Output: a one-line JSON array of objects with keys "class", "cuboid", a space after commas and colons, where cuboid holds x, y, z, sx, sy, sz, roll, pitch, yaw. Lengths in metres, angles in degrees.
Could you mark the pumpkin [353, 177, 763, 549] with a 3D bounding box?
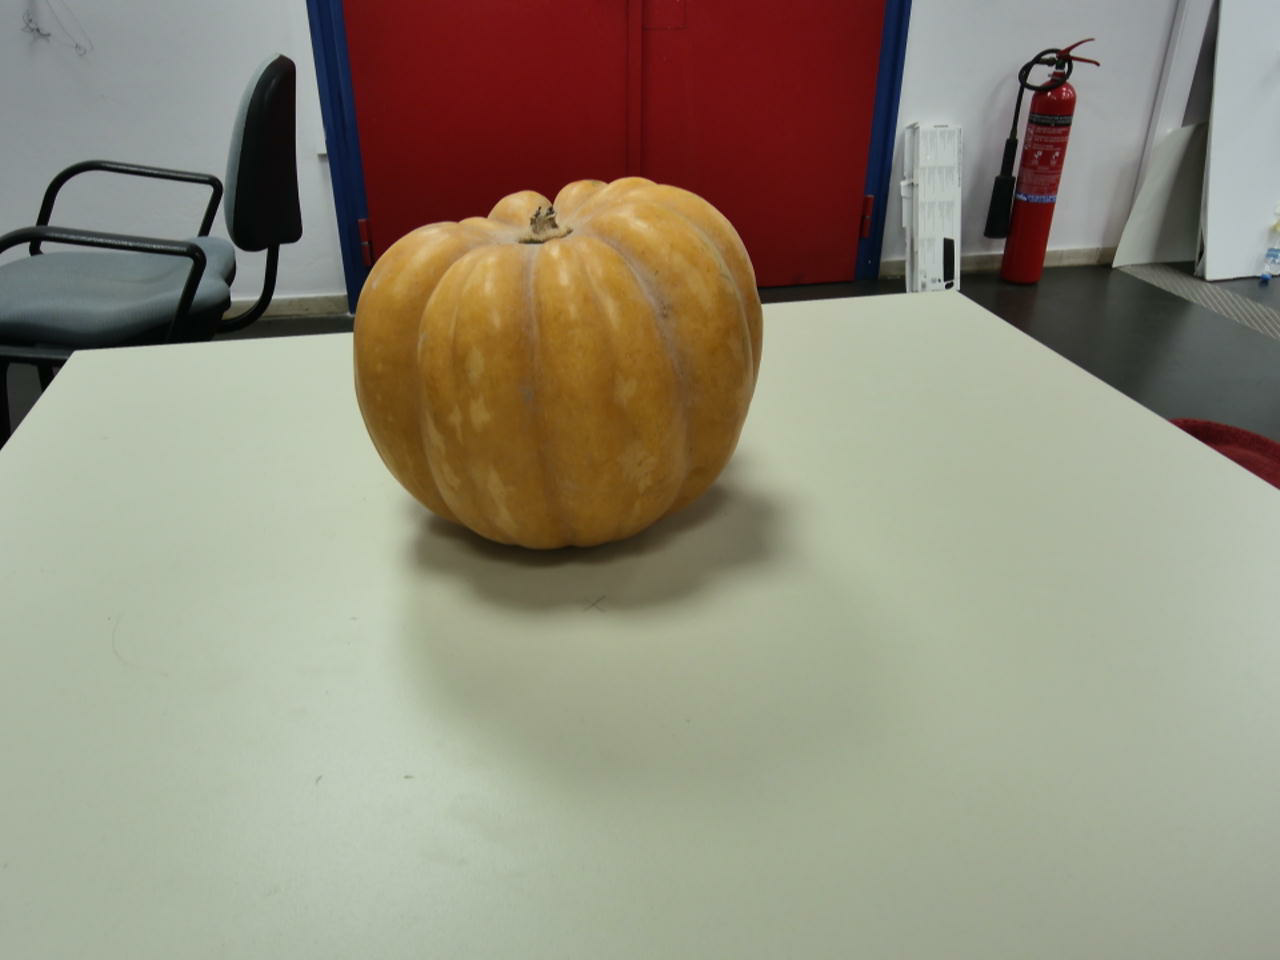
[{"class": "pumpkin", "cuboid": [-0.042, -0.066, 0.567, 0.230, 0.194, 0.230, 0, 27, 0]}]
